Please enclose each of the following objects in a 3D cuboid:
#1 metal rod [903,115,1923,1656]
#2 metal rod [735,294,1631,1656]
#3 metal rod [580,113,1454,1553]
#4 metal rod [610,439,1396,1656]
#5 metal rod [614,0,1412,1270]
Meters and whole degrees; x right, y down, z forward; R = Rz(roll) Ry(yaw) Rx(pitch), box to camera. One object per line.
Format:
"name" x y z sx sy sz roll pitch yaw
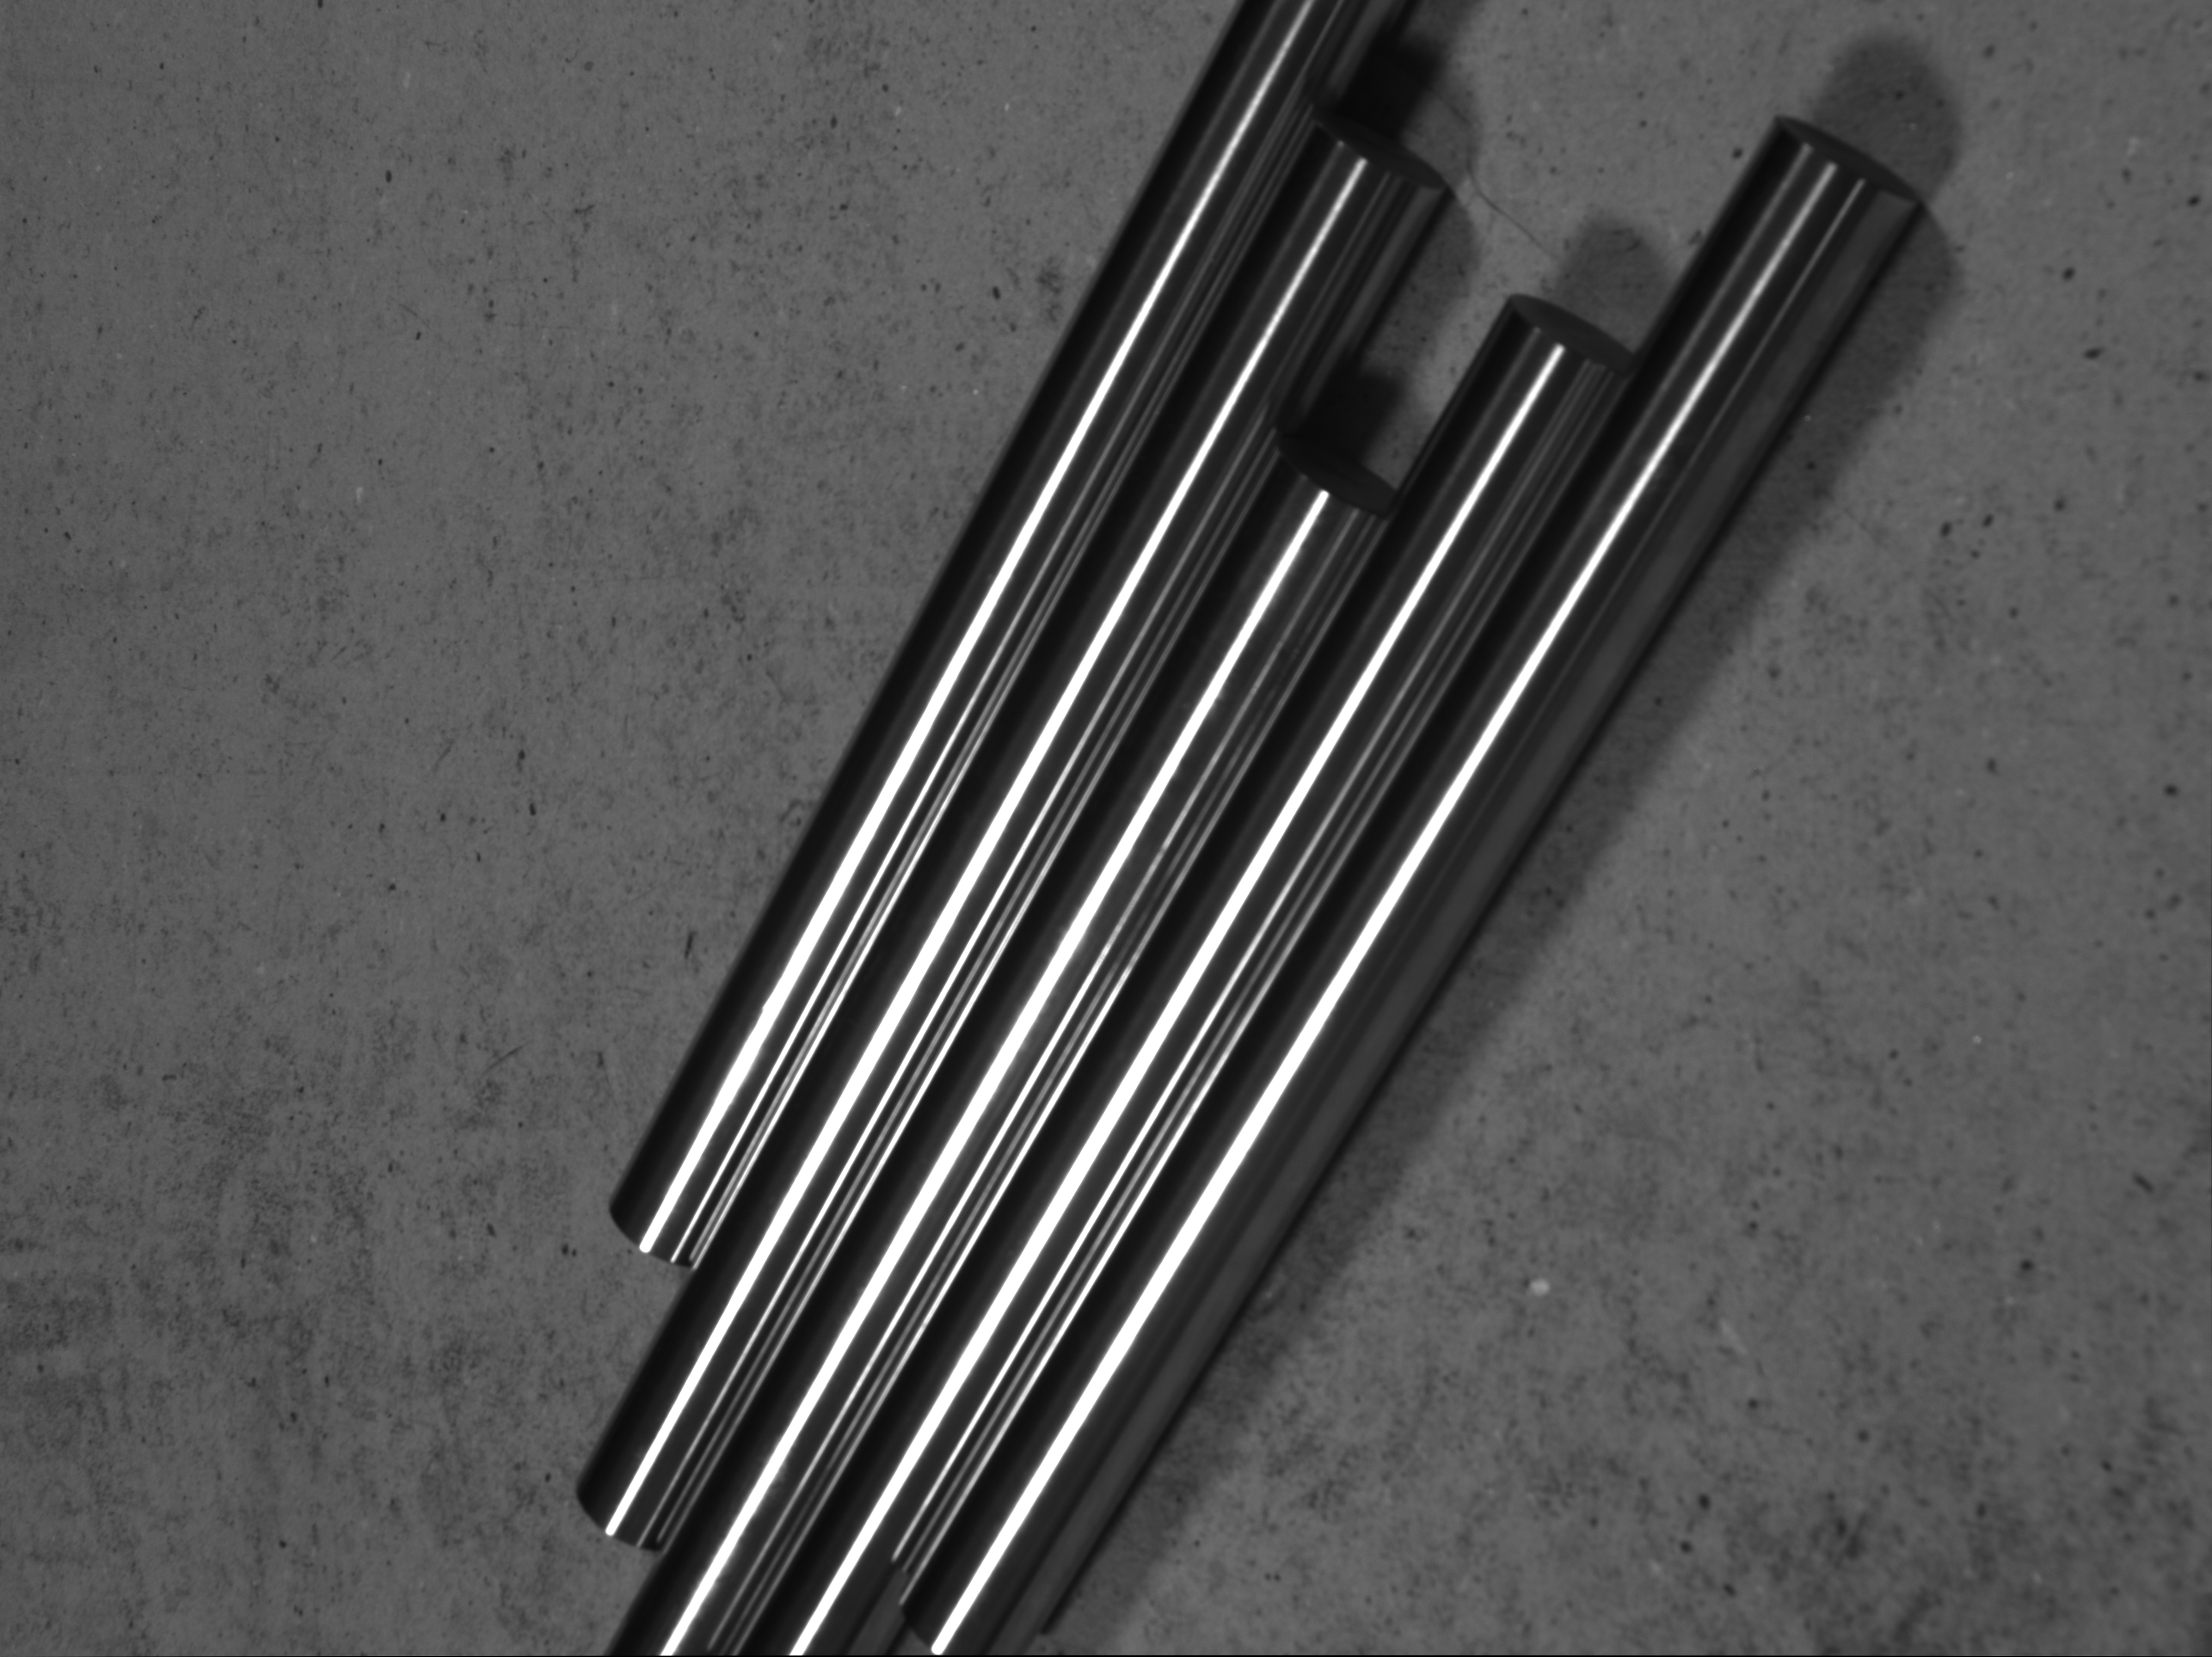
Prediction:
"metal rod" 0.043 0.022 0.601 0.025 0.025 0.300 43 116 31
"metal rod" 0.007 0.044 0.630 0.025 0.025 0.300 43 116 31
"metal rod" -0.022 0.011 0.655 0.025 0.025 0.300 43 116 31
"metal rod" -0.028 0.064 0.659 0.025 0.025 0.300 43 116 31
"metal rod" -0.015 -0.044 0.649 0.025 0.025 0.300 43 116 31
